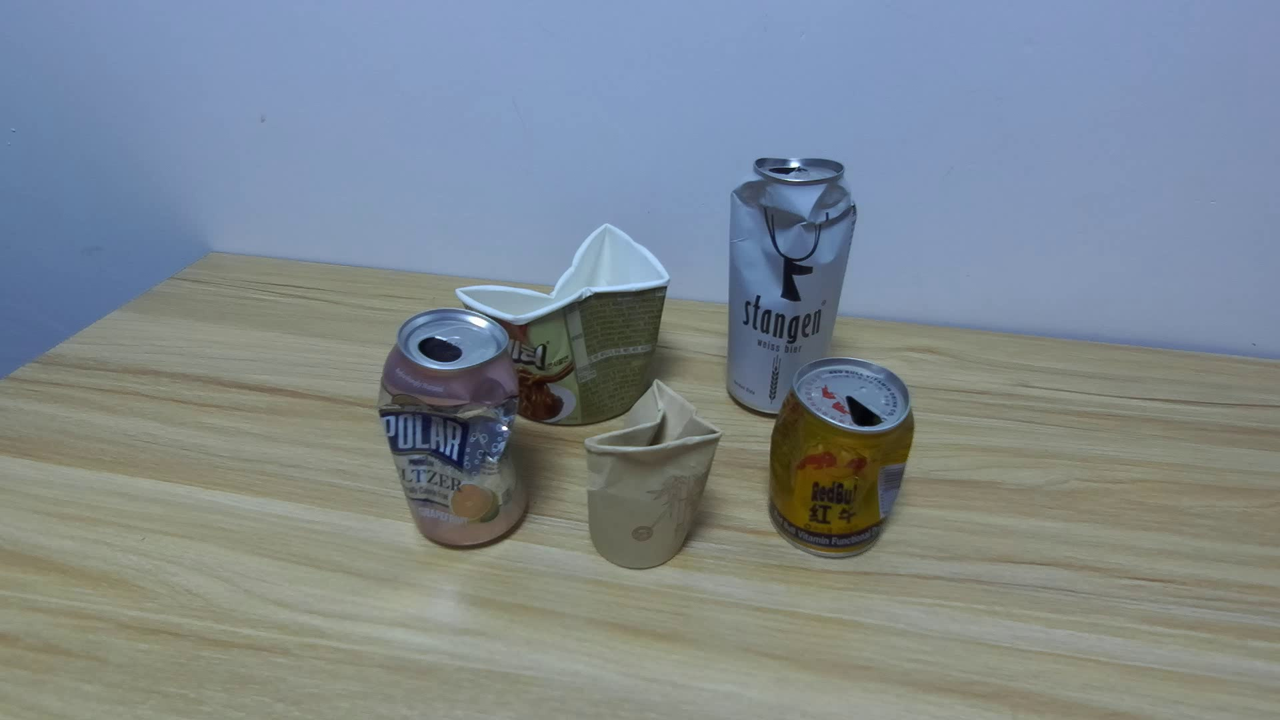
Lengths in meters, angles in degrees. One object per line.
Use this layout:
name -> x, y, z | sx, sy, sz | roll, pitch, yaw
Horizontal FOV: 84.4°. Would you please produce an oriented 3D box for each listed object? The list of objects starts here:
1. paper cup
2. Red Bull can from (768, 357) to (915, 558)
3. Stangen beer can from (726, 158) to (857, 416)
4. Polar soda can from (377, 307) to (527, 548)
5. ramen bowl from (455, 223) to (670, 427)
paper cup -> 0.000, 0.060, 0.375 | 0.066, 0.083, 0.058 | -9, 34, -14
Red Bull can -> 0.106, 0.052, 0.379 | 0.072, 0.092, 0.072 | 1, 35, 0
Stangen beer can -> 0.094, -0.045, 0.456 | 0.066, 0.166, 0.065 | -26, 41, -33
Polar soda can -> -0.093, 0.038, 0.380 | 0.071, 0.122, 0.067 | 14, 30, 18
ramen bowl -> -0.053, -0.023, 0.487 | 0.129, 0.093, 0.111 | -17, 38, -23
